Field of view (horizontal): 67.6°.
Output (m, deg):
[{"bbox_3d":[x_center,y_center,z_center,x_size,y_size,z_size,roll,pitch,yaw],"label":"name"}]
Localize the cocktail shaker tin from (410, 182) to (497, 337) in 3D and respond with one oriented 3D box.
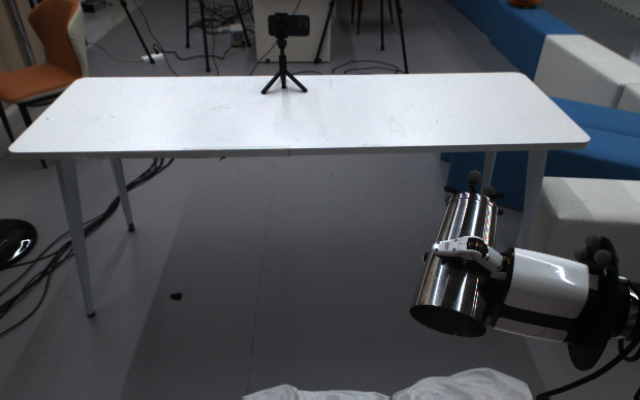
[{"bbox_3d":[0.181,0.078,0.619,0.093,0.093,0.170,14,61,16],"label":"cocktail shaker tin"}]
